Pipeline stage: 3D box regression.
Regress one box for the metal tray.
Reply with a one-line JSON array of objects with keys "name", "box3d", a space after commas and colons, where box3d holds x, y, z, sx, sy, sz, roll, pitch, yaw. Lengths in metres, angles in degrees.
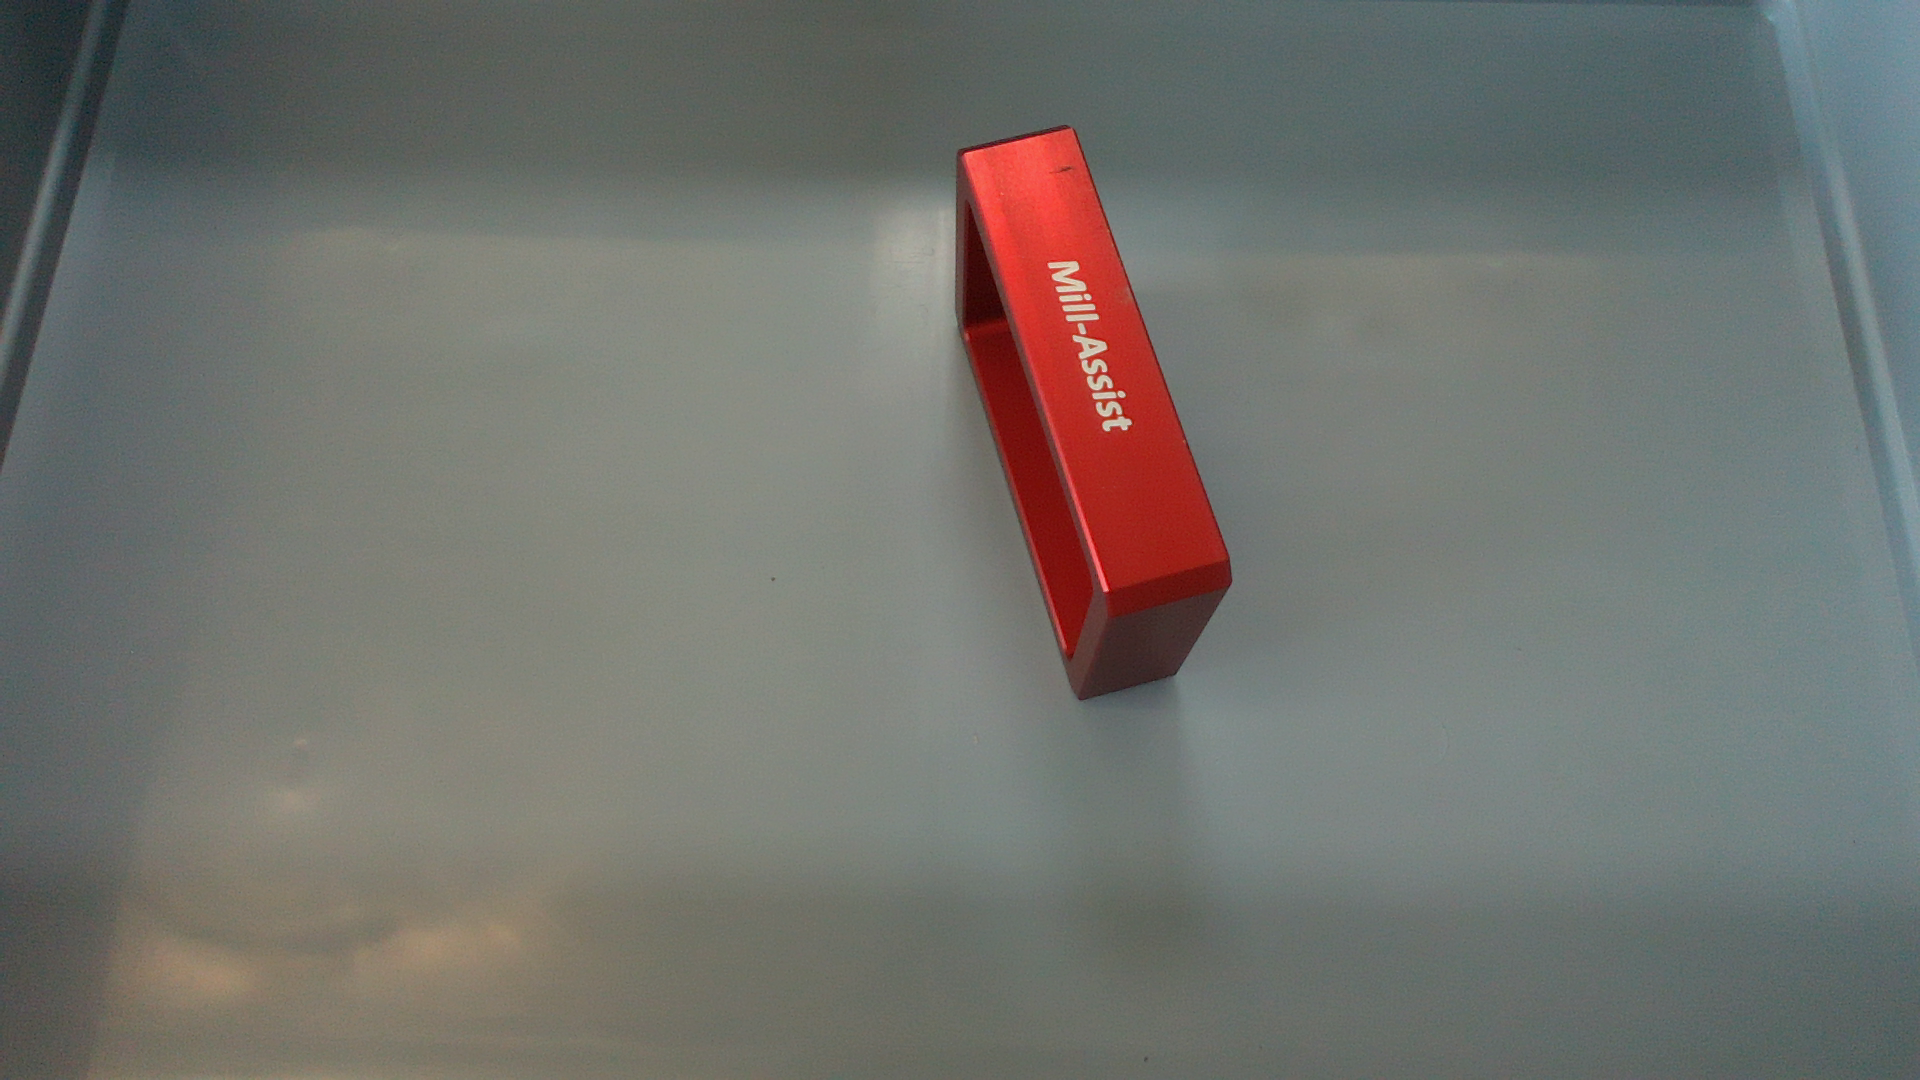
[{"name": "metal tray", "box3d": [0.030, -0.031, 0.369, 0.030, 0.090, 0.130, -15, 71, -6]}]
